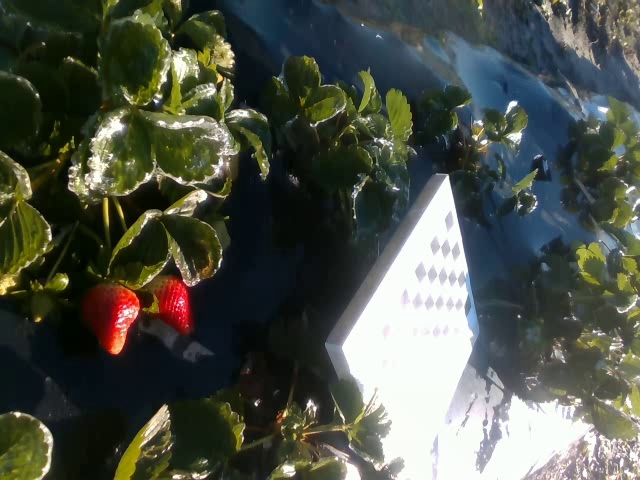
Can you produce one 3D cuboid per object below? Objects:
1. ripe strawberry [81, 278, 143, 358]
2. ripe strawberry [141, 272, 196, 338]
[{"bbox_3d":[-0.169,0.069,0.502,0.040,0.070,0.052,-1,-8,28],"label":"ripe strawberry"},{"bbox_3d":[-0.130,0.058,0.538,0.040,0.059,0.044,2,39,39],"label":"ripe strawberry"}]
